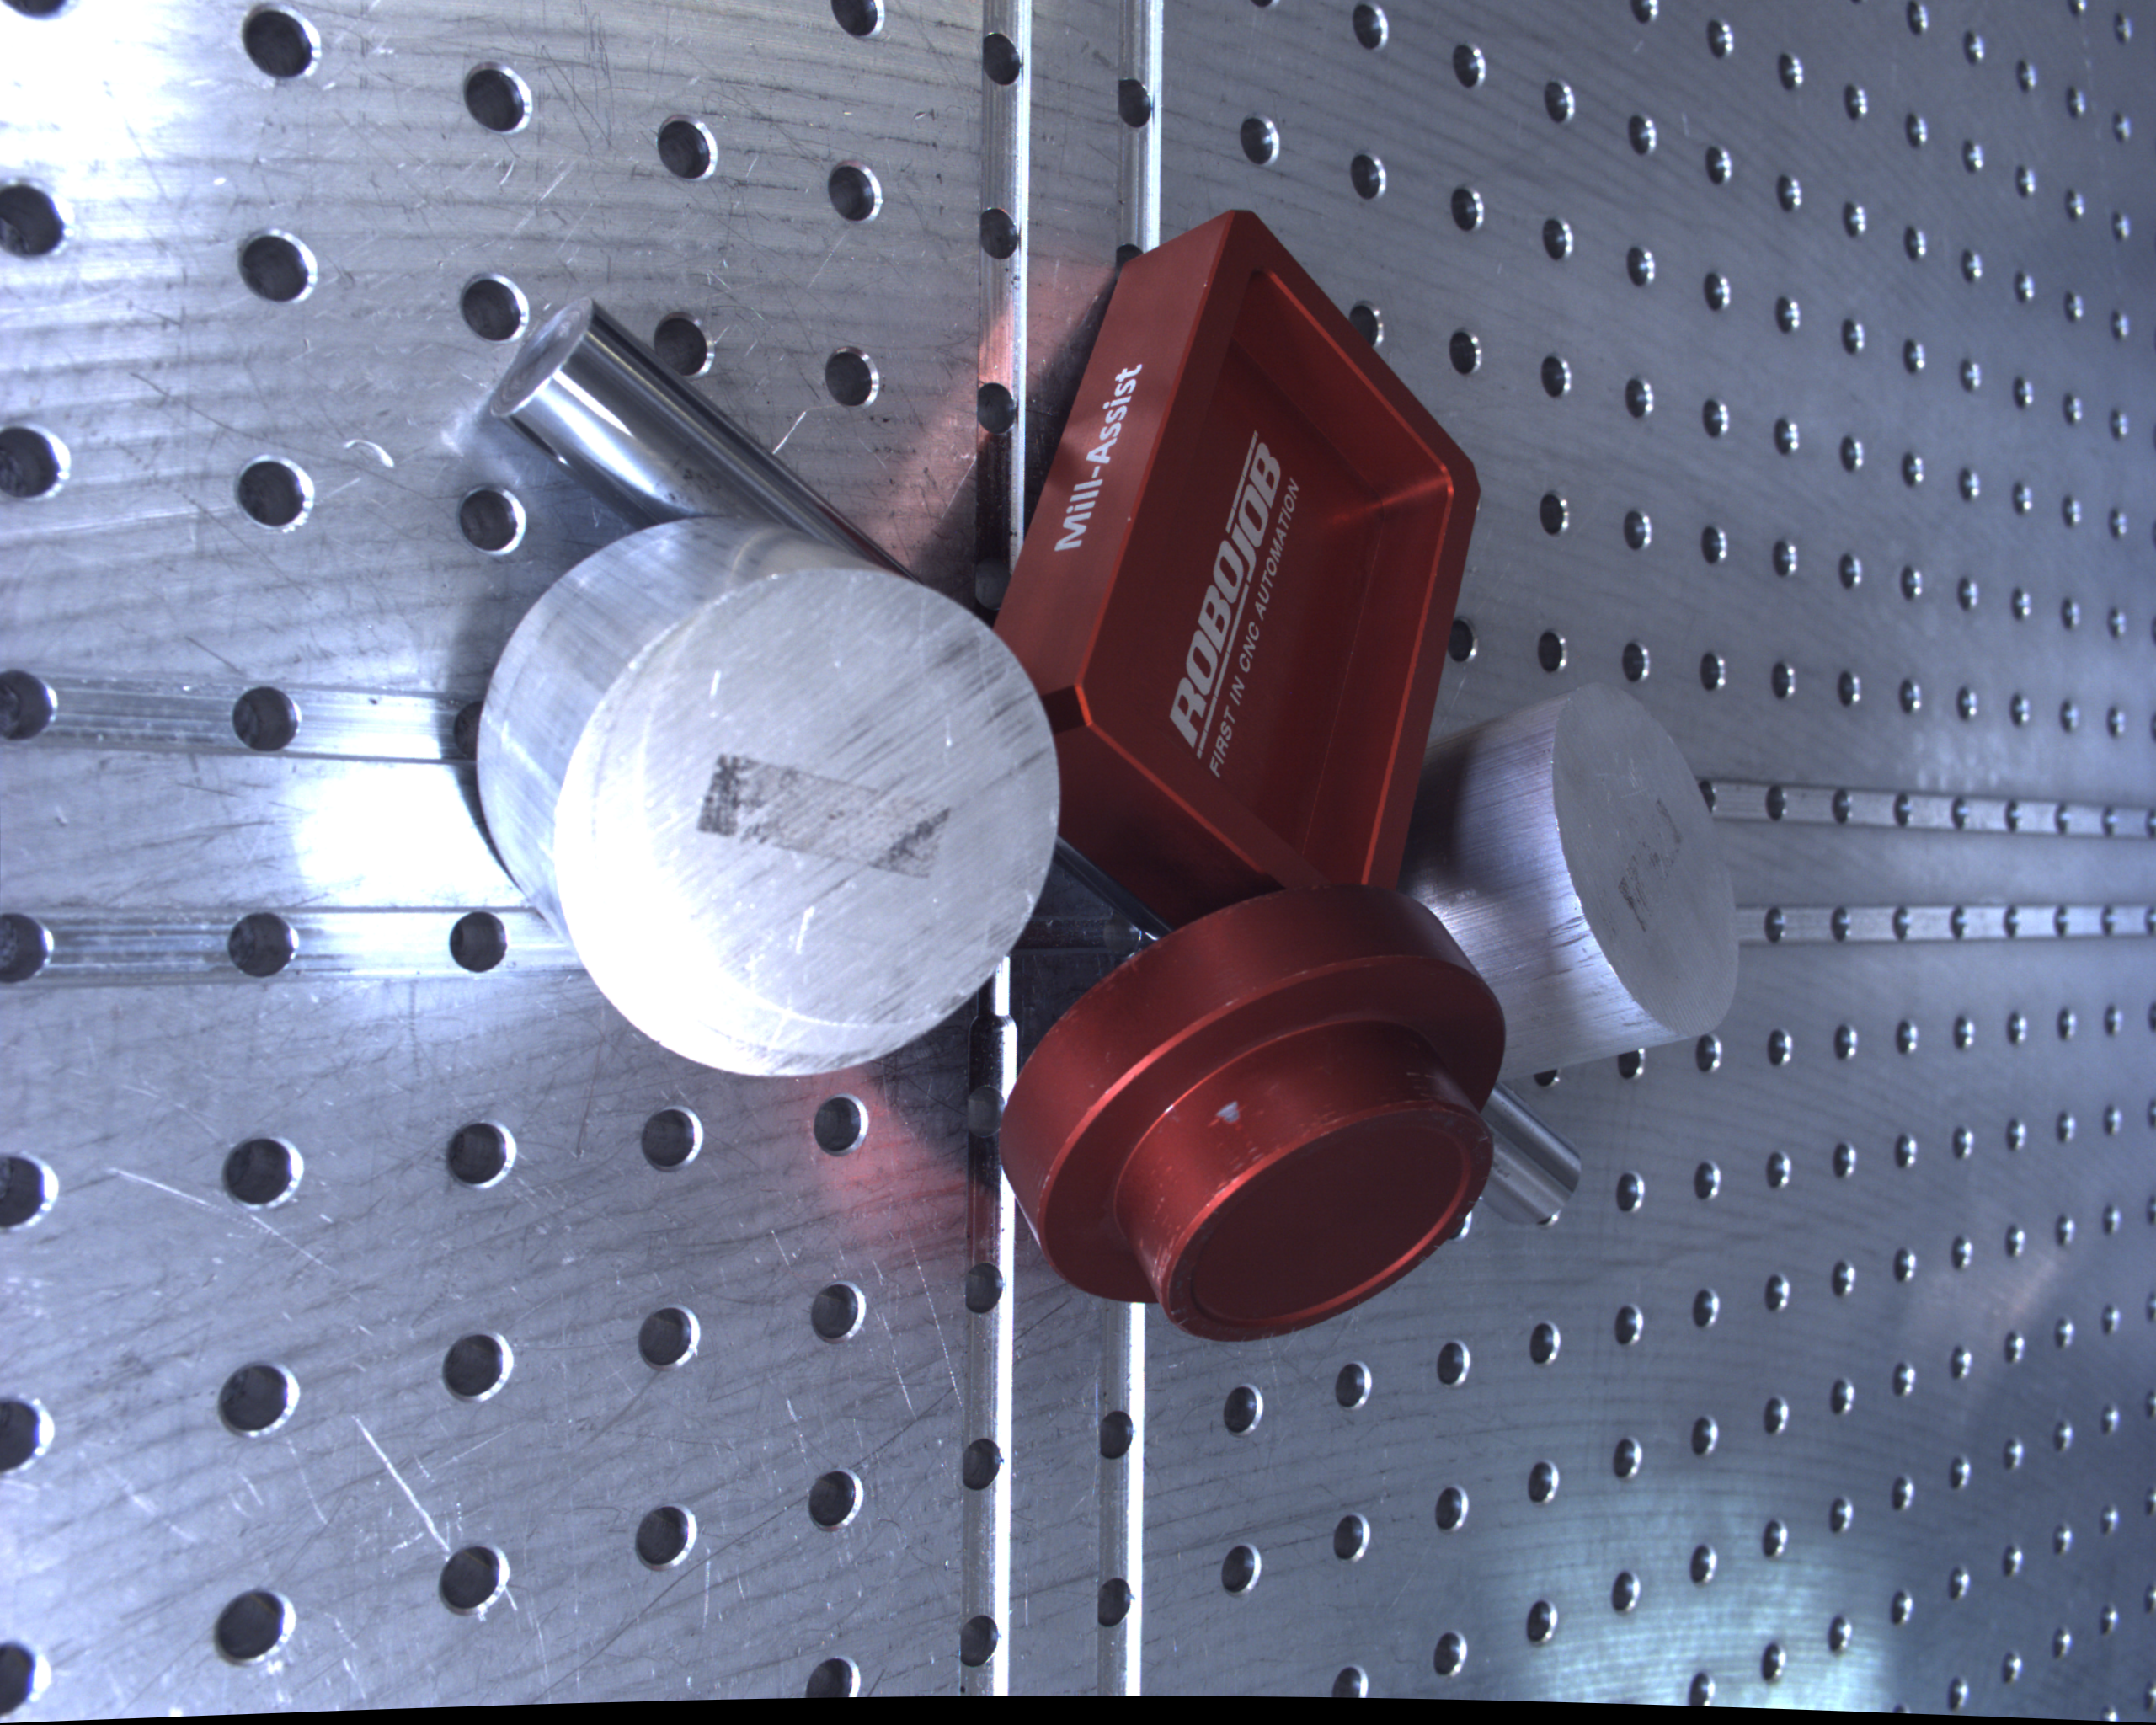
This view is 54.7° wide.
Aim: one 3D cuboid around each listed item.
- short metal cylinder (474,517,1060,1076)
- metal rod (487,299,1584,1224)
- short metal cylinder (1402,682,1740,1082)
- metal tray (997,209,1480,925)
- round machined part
[{"bbox_3d":[-0.050,-0.012,0.335,0.081,0.050,0.079,-10,111,-27],"label":"short metal cylinder"},{"bbox_3d":[0.012,-0.003,0.419,0.301,0.025,0.025,38,67,-33],"label":"metal rod"},{"bbox_3d":[0.105,0.006,0.465,0.080,0.050,0.080,25,55,-42],"label":"short metal cylinder"},{"bbox_3d":[0.034,-0.053,0.415,0.090,0.030,0.130,39,53,-33],"label":"metal tray"},{"bbox_3d":[0.038,0.054,0.395,0.099,0.042,0.097,-18,140,-15],"label":"round machined part"}]
